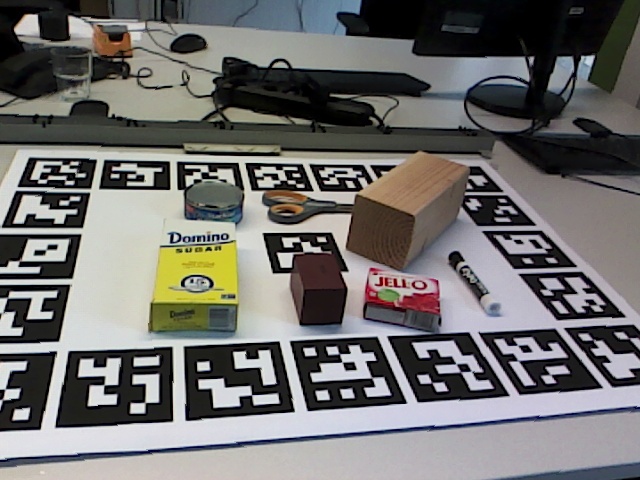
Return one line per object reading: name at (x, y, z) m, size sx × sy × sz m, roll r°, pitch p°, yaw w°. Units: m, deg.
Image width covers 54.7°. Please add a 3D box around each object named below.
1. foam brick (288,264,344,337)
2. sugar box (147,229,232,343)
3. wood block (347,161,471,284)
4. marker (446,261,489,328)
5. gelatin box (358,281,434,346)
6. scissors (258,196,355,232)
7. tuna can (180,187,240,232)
foam brick at (-0.006, 0.072, 0.740) m, size 0.052 × 0.051 × 0.078 m, roll 0°, pitch 34°, yaw -11°
sugar box at (-0.155, 0.051, 0.757) m, size 0.092 × 0.045 × 0.177 m, roll 3°, pitch 33°, yaw -9°
wood block at (0.135, -0.032, 0.905) m, size 0.090 × 0.091 × 0.205 m, roll 24°, pitch 35°, yaw 24°
marker at (0.193, 0.068, 0.820) m, size 0.019 × 0.019 × 0.121 m, roll 0°, pitch 36°, yaw -11°
gelatin box at (0.095, 0.088, 0.762) m, size 0.089 × 0.030 × 0.073 m, roll 10°, pitch 34°, yaw 4°
scissors at (0.005, -0.038, 0.951) m, size 0.202 × 0.016 × 0.088 m, roll 2°, pitch 33°, yaw -5°
tuna can at (-0.161, -0.042, 0.901) m, size 0.085 × 0.033 × 0.086 m, roll 5°, pitch 34°, yaw -4°
